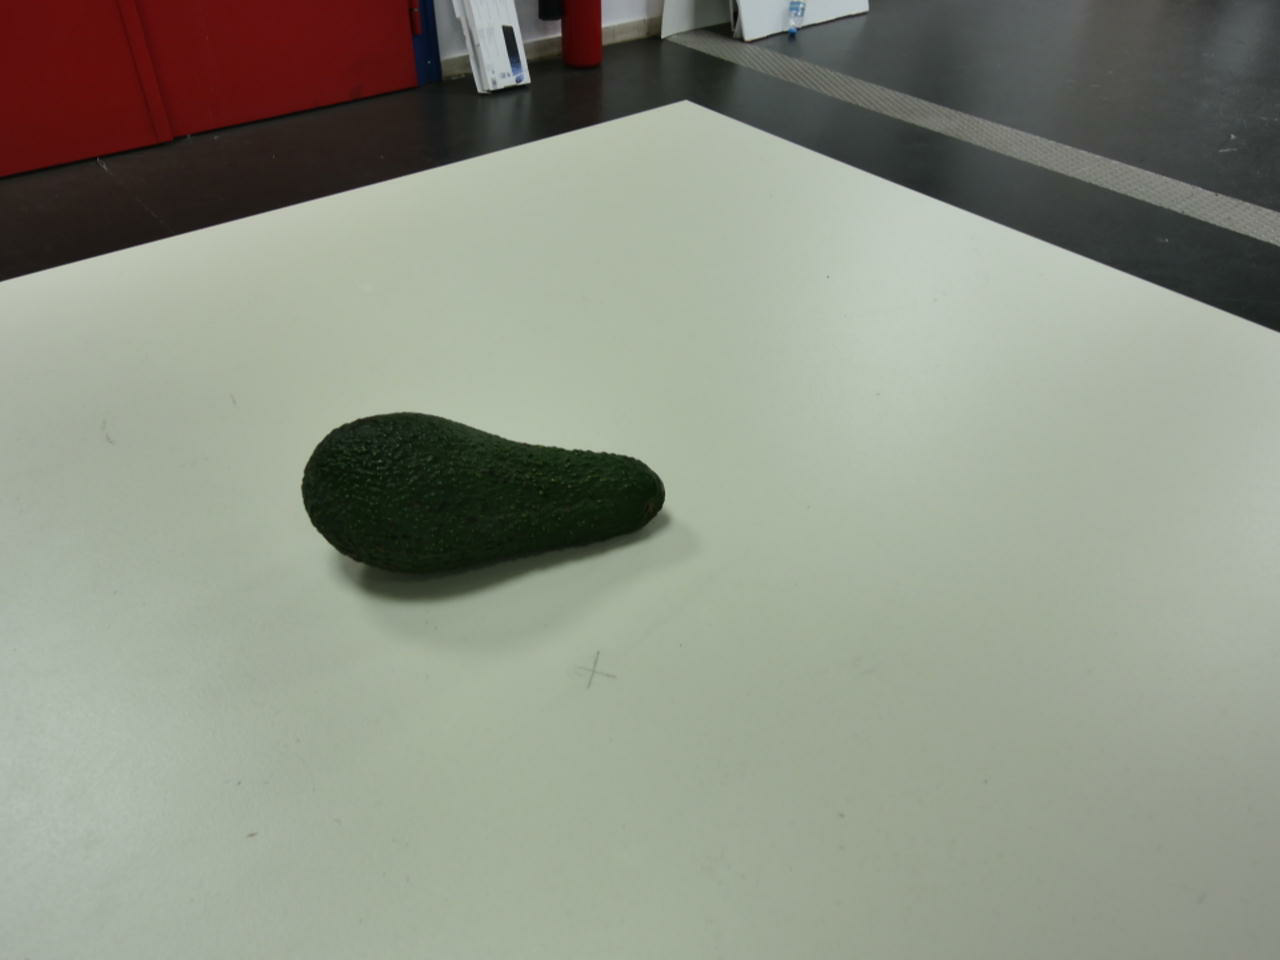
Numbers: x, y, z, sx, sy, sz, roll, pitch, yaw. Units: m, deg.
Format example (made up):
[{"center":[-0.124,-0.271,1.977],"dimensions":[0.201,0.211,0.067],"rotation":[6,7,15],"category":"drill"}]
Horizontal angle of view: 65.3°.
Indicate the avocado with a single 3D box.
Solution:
[{"center":[-0.061,-0.003,0.400],"dimensions":[0.141,0.067,0.063],"rotation":[-15,40,-20],"category":"avocado"}]
